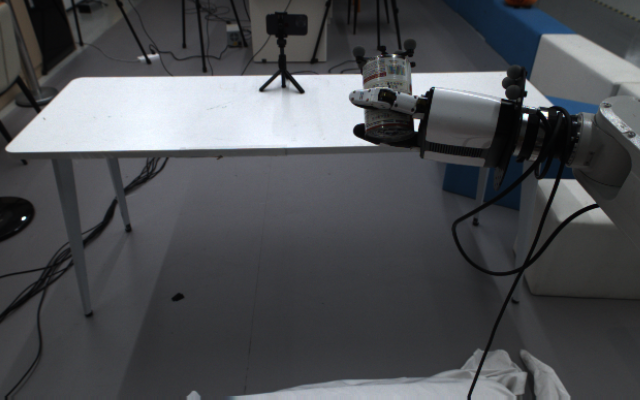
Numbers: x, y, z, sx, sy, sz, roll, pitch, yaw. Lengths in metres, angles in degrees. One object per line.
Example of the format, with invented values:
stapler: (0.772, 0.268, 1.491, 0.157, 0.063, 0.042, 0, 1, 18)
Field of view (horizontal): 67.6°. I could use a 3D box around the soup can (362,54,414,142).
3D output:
soup can: (0.093, -0.137, 0.656, 0.067, 0.101, 0.067, -1, -9, 0)
